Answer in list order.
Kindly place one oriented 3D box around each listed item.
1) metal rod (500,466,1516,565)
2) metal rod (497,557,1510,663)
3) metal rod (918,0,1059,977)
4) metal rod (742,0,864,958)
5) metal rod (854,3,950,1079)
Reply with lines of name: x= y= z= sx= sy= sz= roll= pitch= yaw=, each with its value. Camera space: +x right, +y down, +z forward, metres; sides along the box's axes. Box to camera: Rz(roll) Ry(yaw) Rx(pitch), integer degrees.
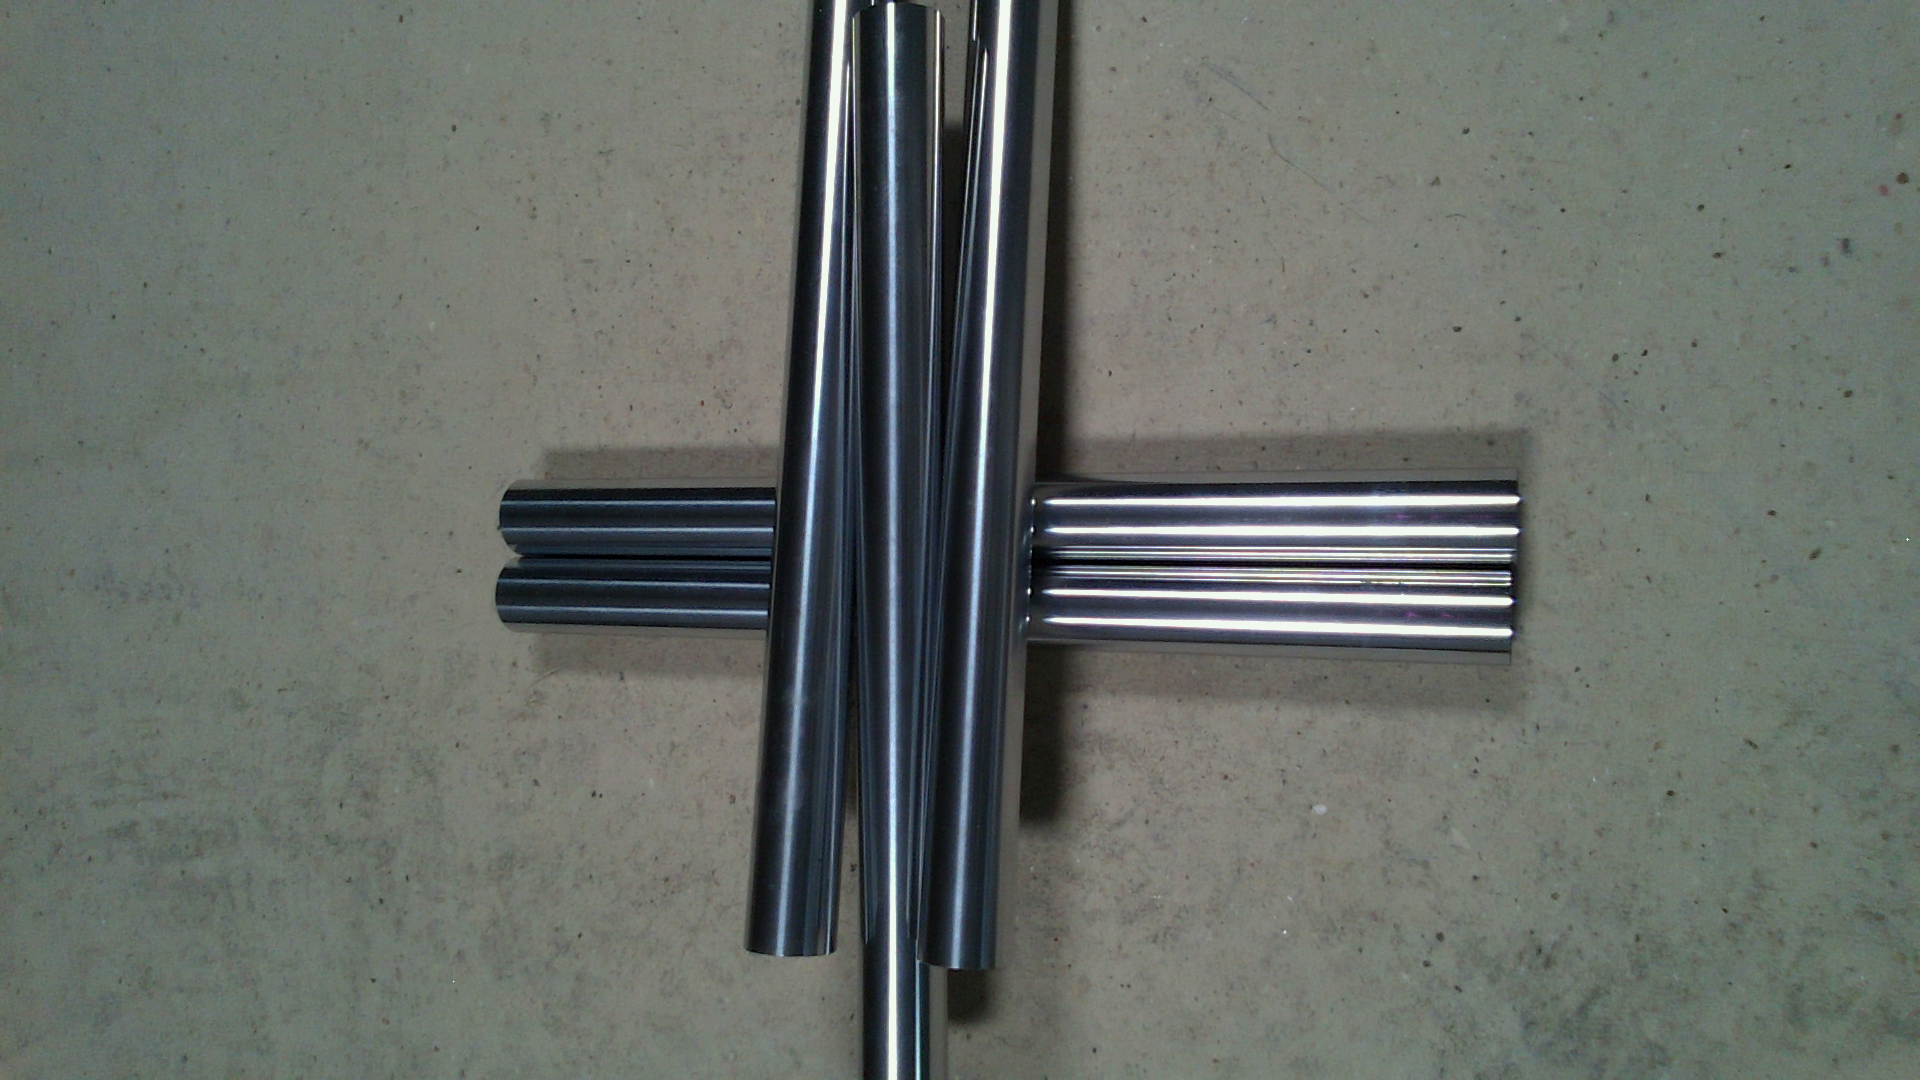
metal rod: x=-0.001 y=-0.007 z=0.397 sx=0.299 sy=0.025 sz=0.025 roll=0 pitch=90 yaw=20
metal rod: x=-0.002 y=0.018 z=0.398 sx=0.299 sy=0.025 sz=0.025 roll=0 pitch=90 yaw=20
metal rod: x=0.009 y=-0.040 z=0.370 sx=0.025 sy=0.025 sz=0.300 roll=0 pitch=82 yaw=20
metal rod: x=-0.038 y=-0.039 z=0.387 sx=0.025 sy=0.025 sz=0.300 roll=0 pitch=82 yaw=20
metal rod: x=-0.016 y=0.008 z=0.375 sx=0.025 sy=0.025 sz=0.300 roll=0 pitch=90 yaw=20
